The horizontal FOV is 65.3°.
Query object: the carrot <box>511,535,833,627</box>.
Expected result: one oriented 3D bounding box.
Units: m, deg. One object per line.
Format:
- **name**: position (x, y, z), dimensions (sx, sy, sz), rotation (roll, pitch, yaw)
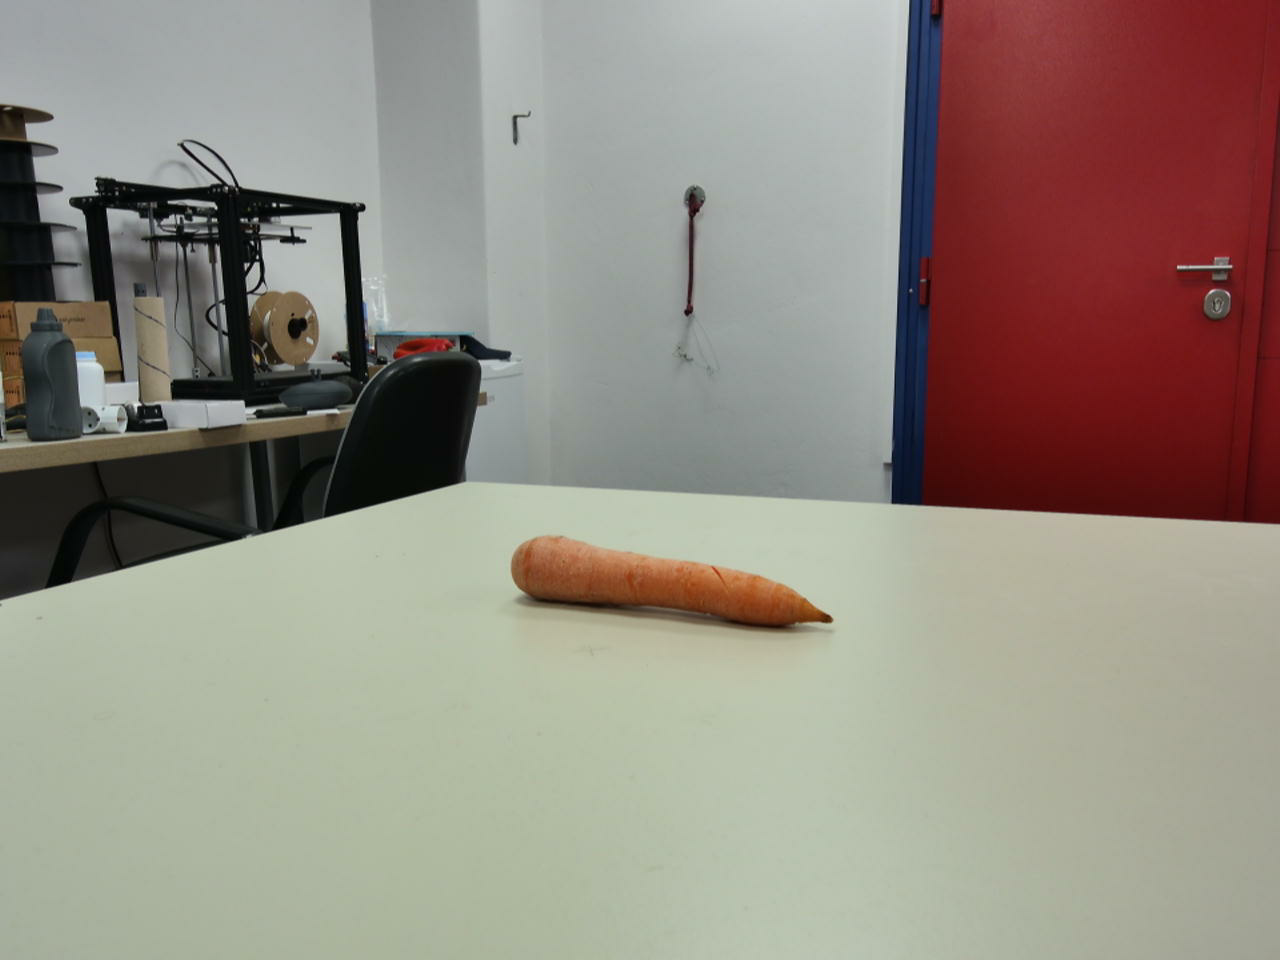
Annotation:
- **carrot**: position (0.014, 0.057, 0.576), dimensions (0.196, 0.041, 0.039), rotation (3, 7, 23)
